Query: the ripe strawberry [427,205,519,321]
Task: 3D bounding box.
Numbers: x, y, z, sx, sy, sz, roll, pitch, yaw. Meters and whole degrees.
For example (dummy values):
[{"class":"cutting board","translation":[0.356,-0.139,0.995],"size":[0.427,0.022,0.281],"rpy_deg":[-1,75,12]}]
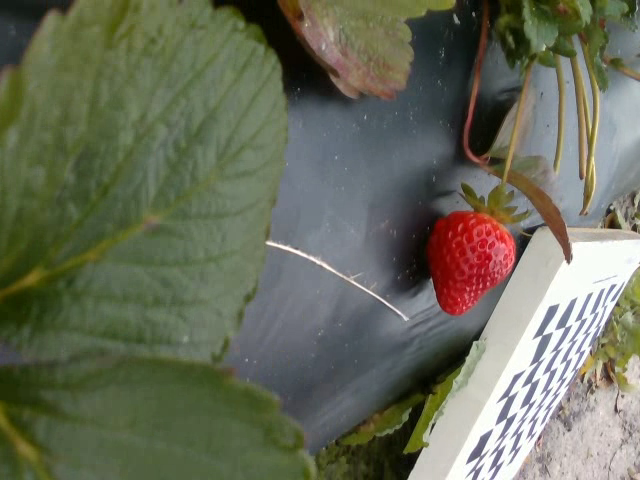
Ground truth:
[{"class":"ripe strawberry","translation":[0.041,0.007,0.164],"size":[0.022,0.033,0.028],"rpy_deg":[30,3,37]}]
